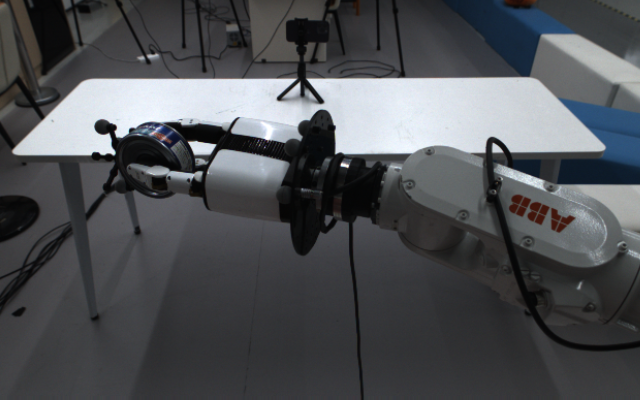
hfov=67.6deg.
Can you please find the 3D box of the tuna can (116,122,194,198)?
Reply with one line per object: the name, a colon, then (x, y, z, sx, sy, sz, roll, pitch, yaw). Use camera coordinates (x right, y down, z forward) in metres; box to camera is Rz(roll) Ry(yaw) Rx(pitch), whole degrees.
tuna can: (-0.190, -0.046, 0.565, 0.085, 0.085, 0.034, 9, 34, 10)
